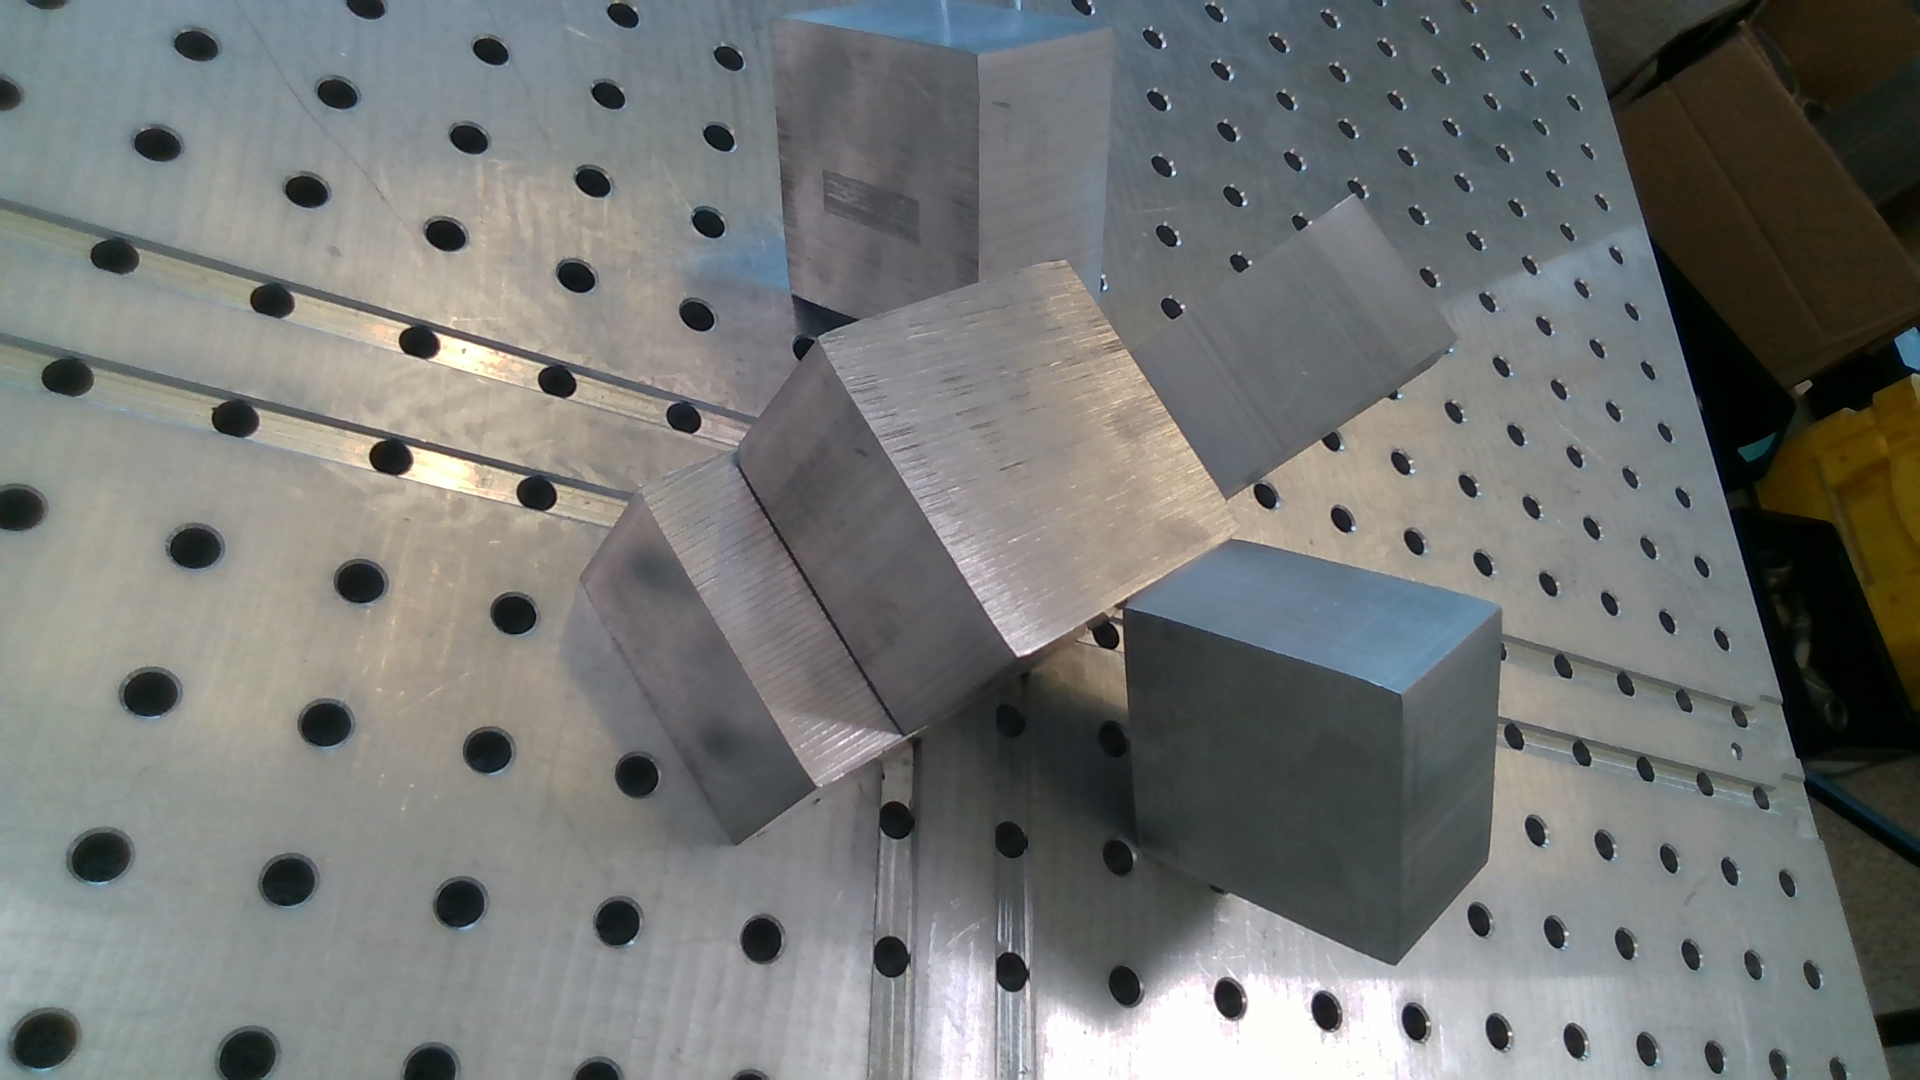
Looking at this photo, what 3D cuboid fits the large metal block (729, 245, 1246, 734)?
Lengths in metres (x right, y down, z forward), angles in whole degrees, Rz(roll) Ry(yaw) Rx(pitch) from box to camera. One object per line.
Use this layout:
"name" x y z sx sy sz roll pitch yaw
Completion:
"large metal block" 0.007 -0.014 0.325 0.080 0.050 0.080 -27 82 -38

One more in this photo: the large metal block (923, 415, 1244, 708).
"large metal block" 0.021 -0.011 0.399 0.080 0.050 0.080 -28 82 -39

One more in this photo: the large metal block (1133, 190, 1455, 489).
"large metal block" 0.102 -0.057 0.434 0.050 0.080 0.080 57 12 7

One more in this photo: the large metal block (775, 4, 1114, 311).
"large metal block" -0.005 -0.108 0.395 0.080 0.080 0.050 25 38 36

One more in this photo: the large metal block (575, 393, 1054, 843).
"large metal block" -0.036 0.017 0.348 0.080 0.050 0.080 -26 81 -40

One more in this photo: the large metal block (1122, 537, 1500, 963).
"large metal block" 0.093 0.052 0.370 0.050 0.080 0.080 -28 122 -39
